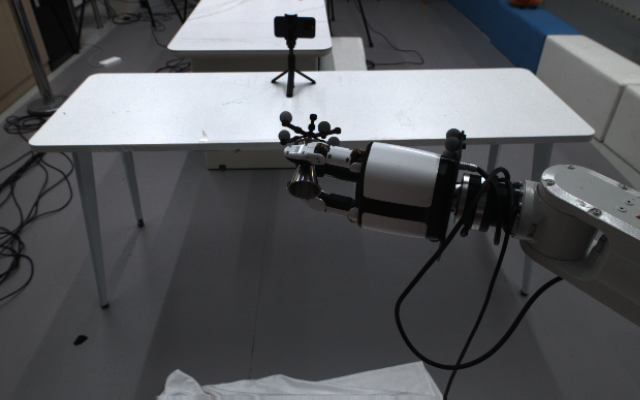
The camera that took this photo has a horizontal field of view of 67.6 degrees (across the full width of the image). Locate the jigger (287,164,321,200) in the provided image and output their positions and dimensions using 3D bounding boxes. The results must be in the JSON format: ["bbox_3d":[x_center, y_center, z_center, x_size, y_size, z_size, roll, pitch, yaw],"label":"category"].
[{"bbox_3d":[-0.018,-0.044,0.623,0.043,0.043,0.071,4,60,2],"label":"jigger"}]
